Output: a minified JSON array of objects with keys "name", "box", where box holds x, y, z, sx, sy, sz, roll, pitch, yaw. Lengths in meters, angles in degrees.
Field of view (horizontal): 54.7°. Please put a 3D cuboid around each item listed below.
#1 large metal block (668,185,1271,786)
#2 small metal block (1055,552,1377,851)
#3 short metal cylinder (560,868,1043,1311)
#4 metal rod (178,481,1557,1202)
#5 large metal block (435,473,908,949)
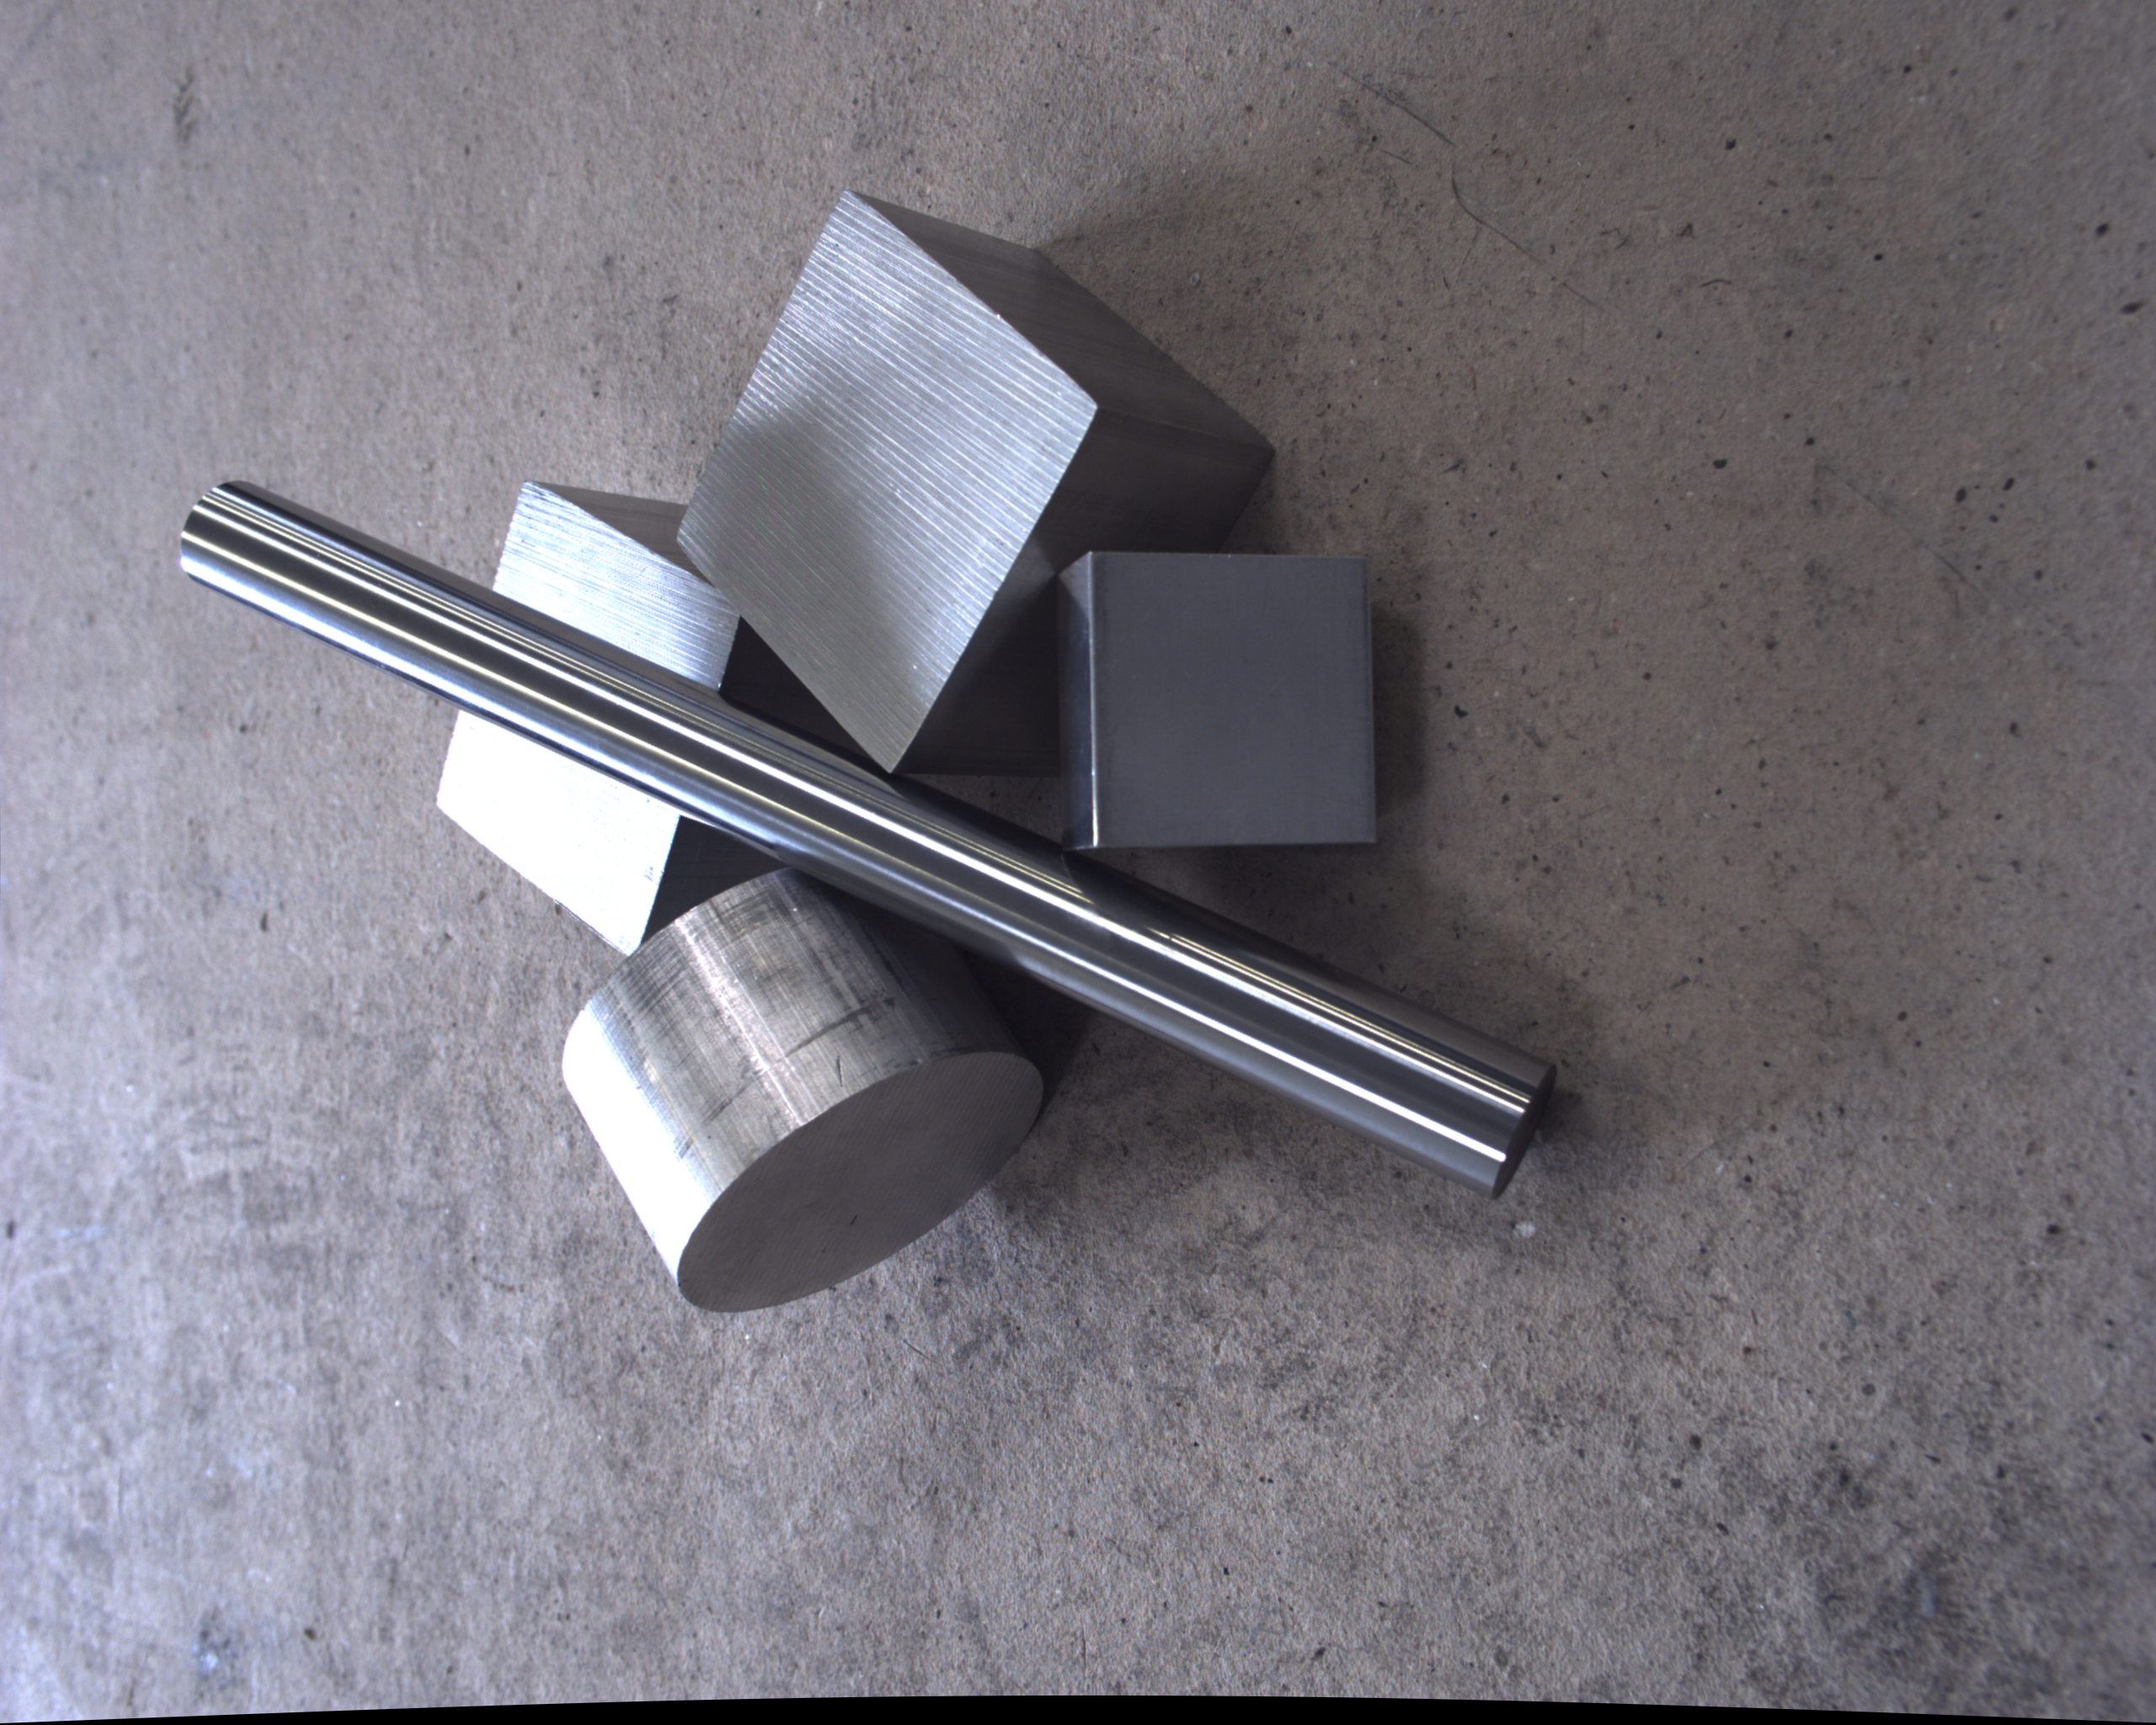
[{"name":"large metal block","box":[-0.024,-0.071,0.406,0.080,0.050,0.080,47,118,29]},{"name":"small metal block","box":[0.024,-0.028,0.368,0.025,0.050,0.050,175,94,-75]},{"name":"short metal cylinder","box":[-0.054,0.044,0.415,0.080,0.081,0.050,-51,60,28]},{"name":"metal rod","box":[-0.055,-0.013,0.398,0.301,0.025,0.025,24,106,20]},{"name":"large metal block","box":[-0.091,-0.033,0.465,0.080,0.050,0.079,31,109,35]}]
